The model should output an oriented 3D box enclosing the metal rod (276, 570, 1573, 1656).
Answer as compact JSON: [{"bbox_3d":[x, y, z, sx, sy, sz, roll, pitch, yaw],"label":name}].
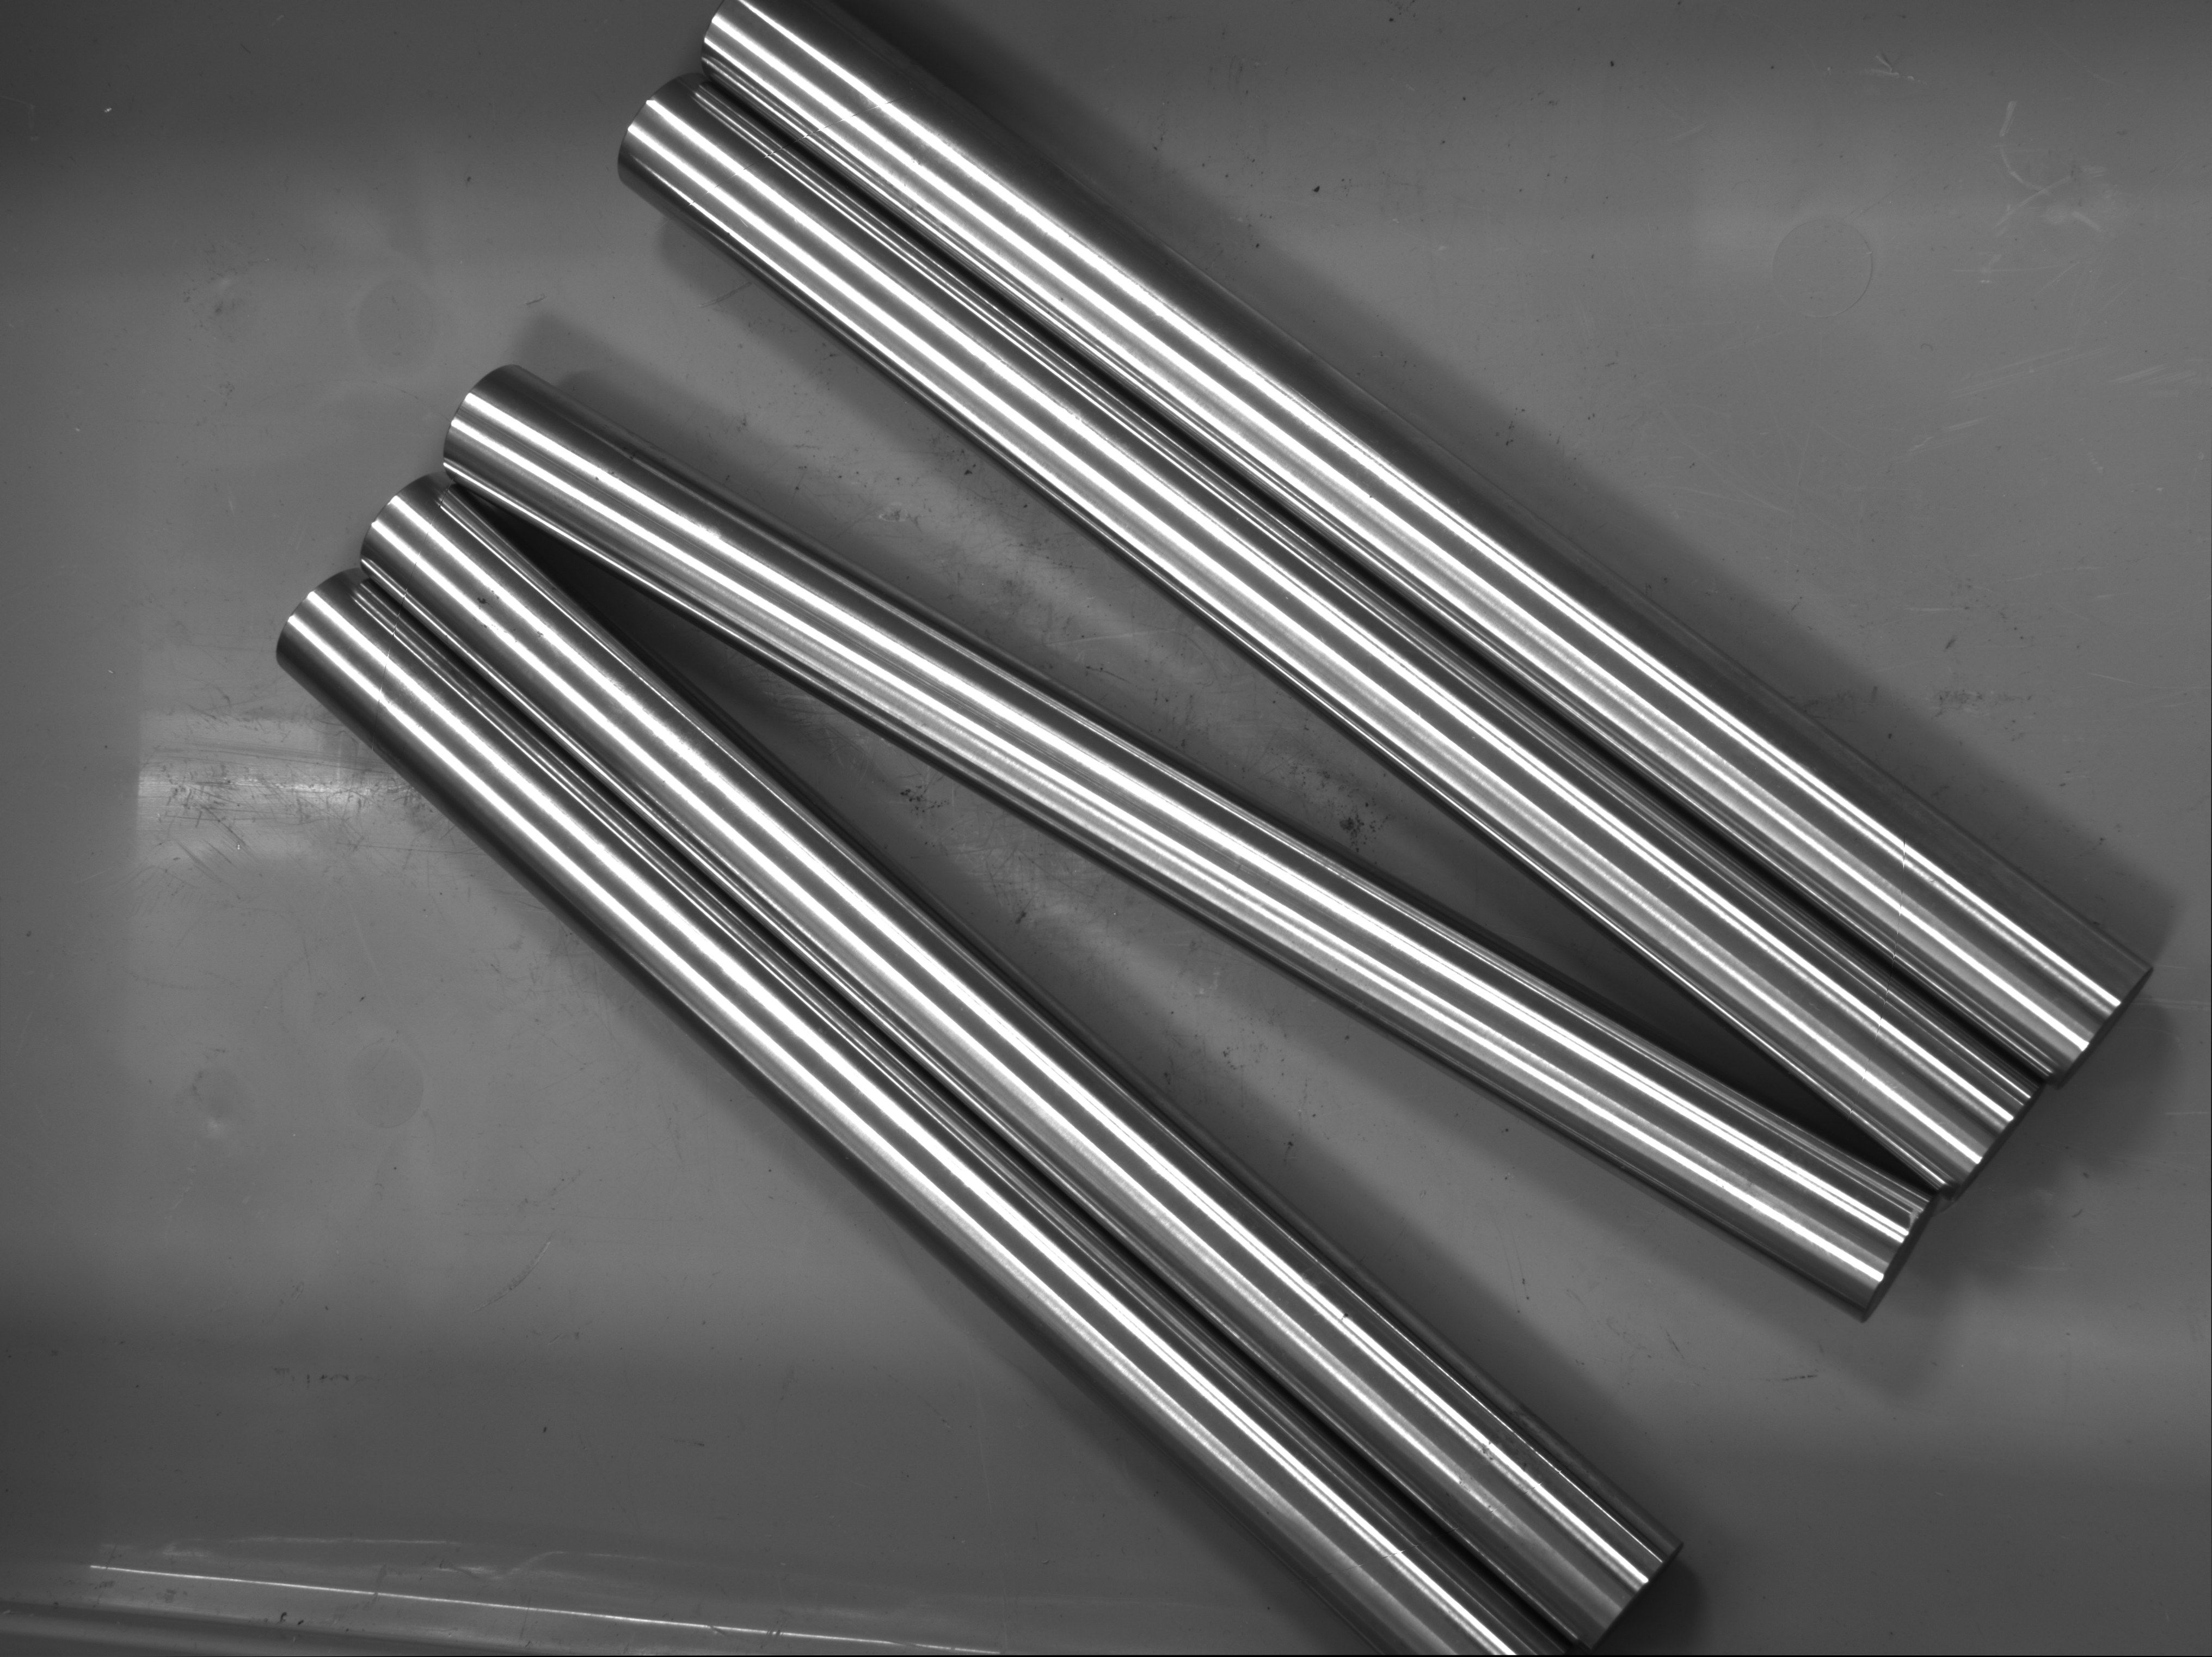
[{"bbox_3d":[-0.038,0.053,0.659,0.299,0.025,0.025,40,103,16],"label":"metal rod"}]

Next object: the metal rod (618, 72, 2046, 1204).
[{"bbox_3d":[0.032,-0.039,0.634,0.299,0.025,0.025,39,102,16],"label":"metal rod"}]

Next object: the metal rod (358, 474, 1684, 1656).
[{"bbox_3d":[-0.022,0.036,0.653,0.299,0.025,0.025,40,103,16],"label":"metal rod"}]

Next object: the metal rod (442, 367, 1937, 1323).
[{"bbox_3d":[0.007,-0.003,0.643,0.299,0.025,0.025,31,100,17],"label":"metal rod"}]

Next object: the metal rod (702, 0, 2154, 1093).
[{"bbox_3d":[0.048,-0.057,0.628,0.299,0.025,0.025,39,102,16],"label":"metal rod"}]
